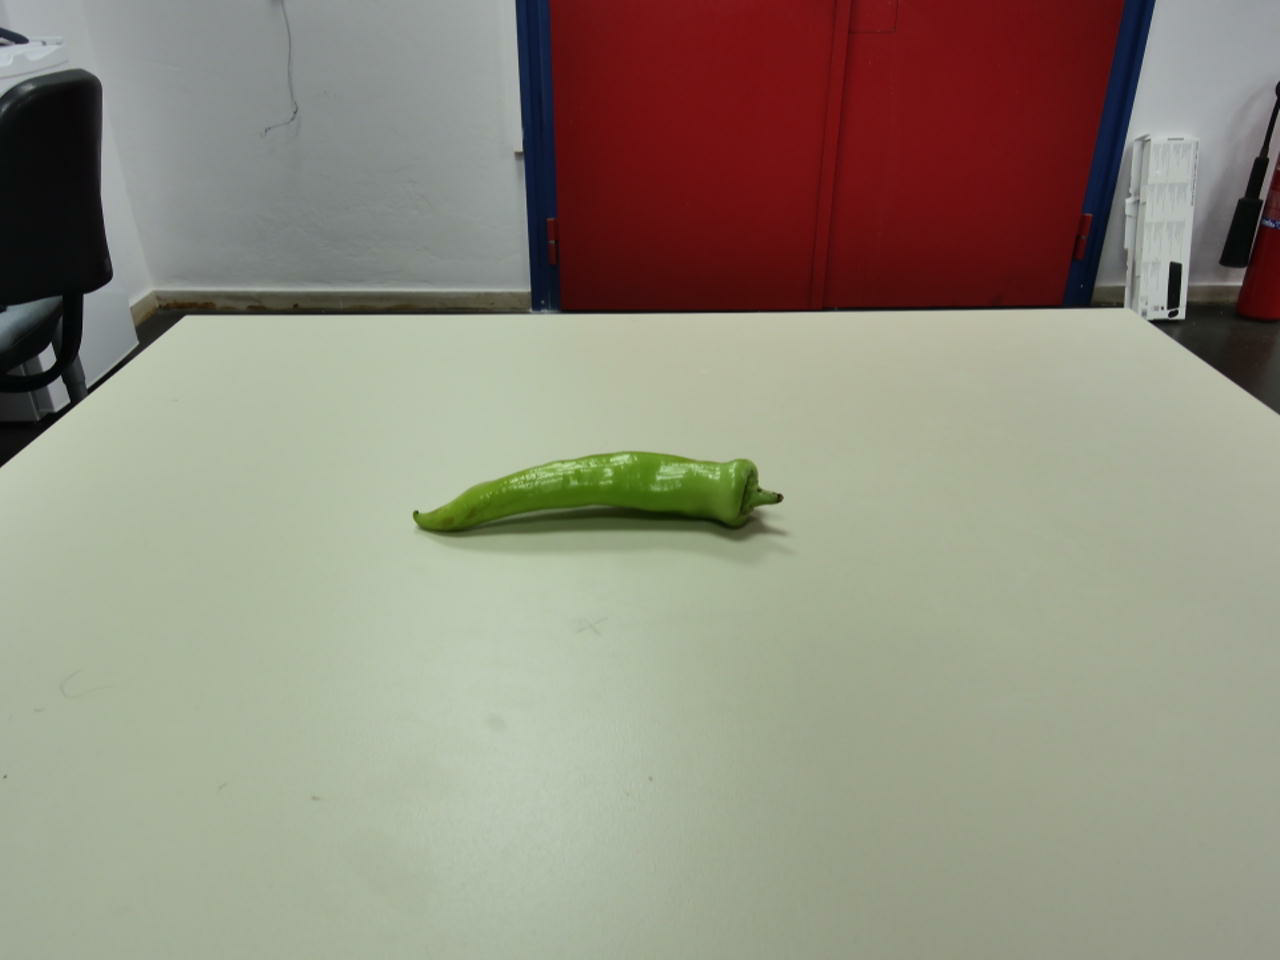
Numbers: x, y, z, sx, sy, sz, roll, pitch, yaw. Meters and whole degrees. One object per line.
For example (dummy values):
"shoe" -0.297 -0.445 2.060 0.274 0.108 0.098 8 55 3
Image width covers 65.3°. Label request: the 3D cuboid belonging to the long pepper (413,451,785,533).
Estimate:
"long pepper" -0.023 0.004 0.537 0.197 0.038 0.046 1 26 2
